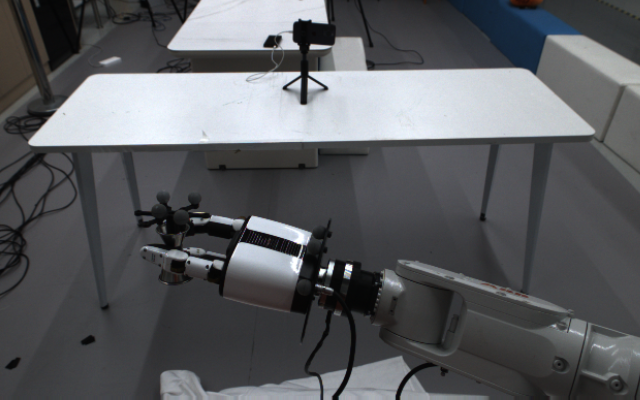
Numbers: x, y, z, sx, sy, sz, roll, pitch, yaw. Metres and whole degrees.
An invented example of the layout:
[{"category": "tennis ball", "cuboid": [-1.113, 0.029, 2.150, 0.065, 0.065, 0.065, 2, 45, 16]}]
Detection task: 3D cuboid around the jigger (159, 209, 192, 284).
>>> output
[{"category": "jigger", "cuboid": [-0.180, 0.064, 0.607, 0.043, 0.071, 0.043, 2, 20, -1]}]
